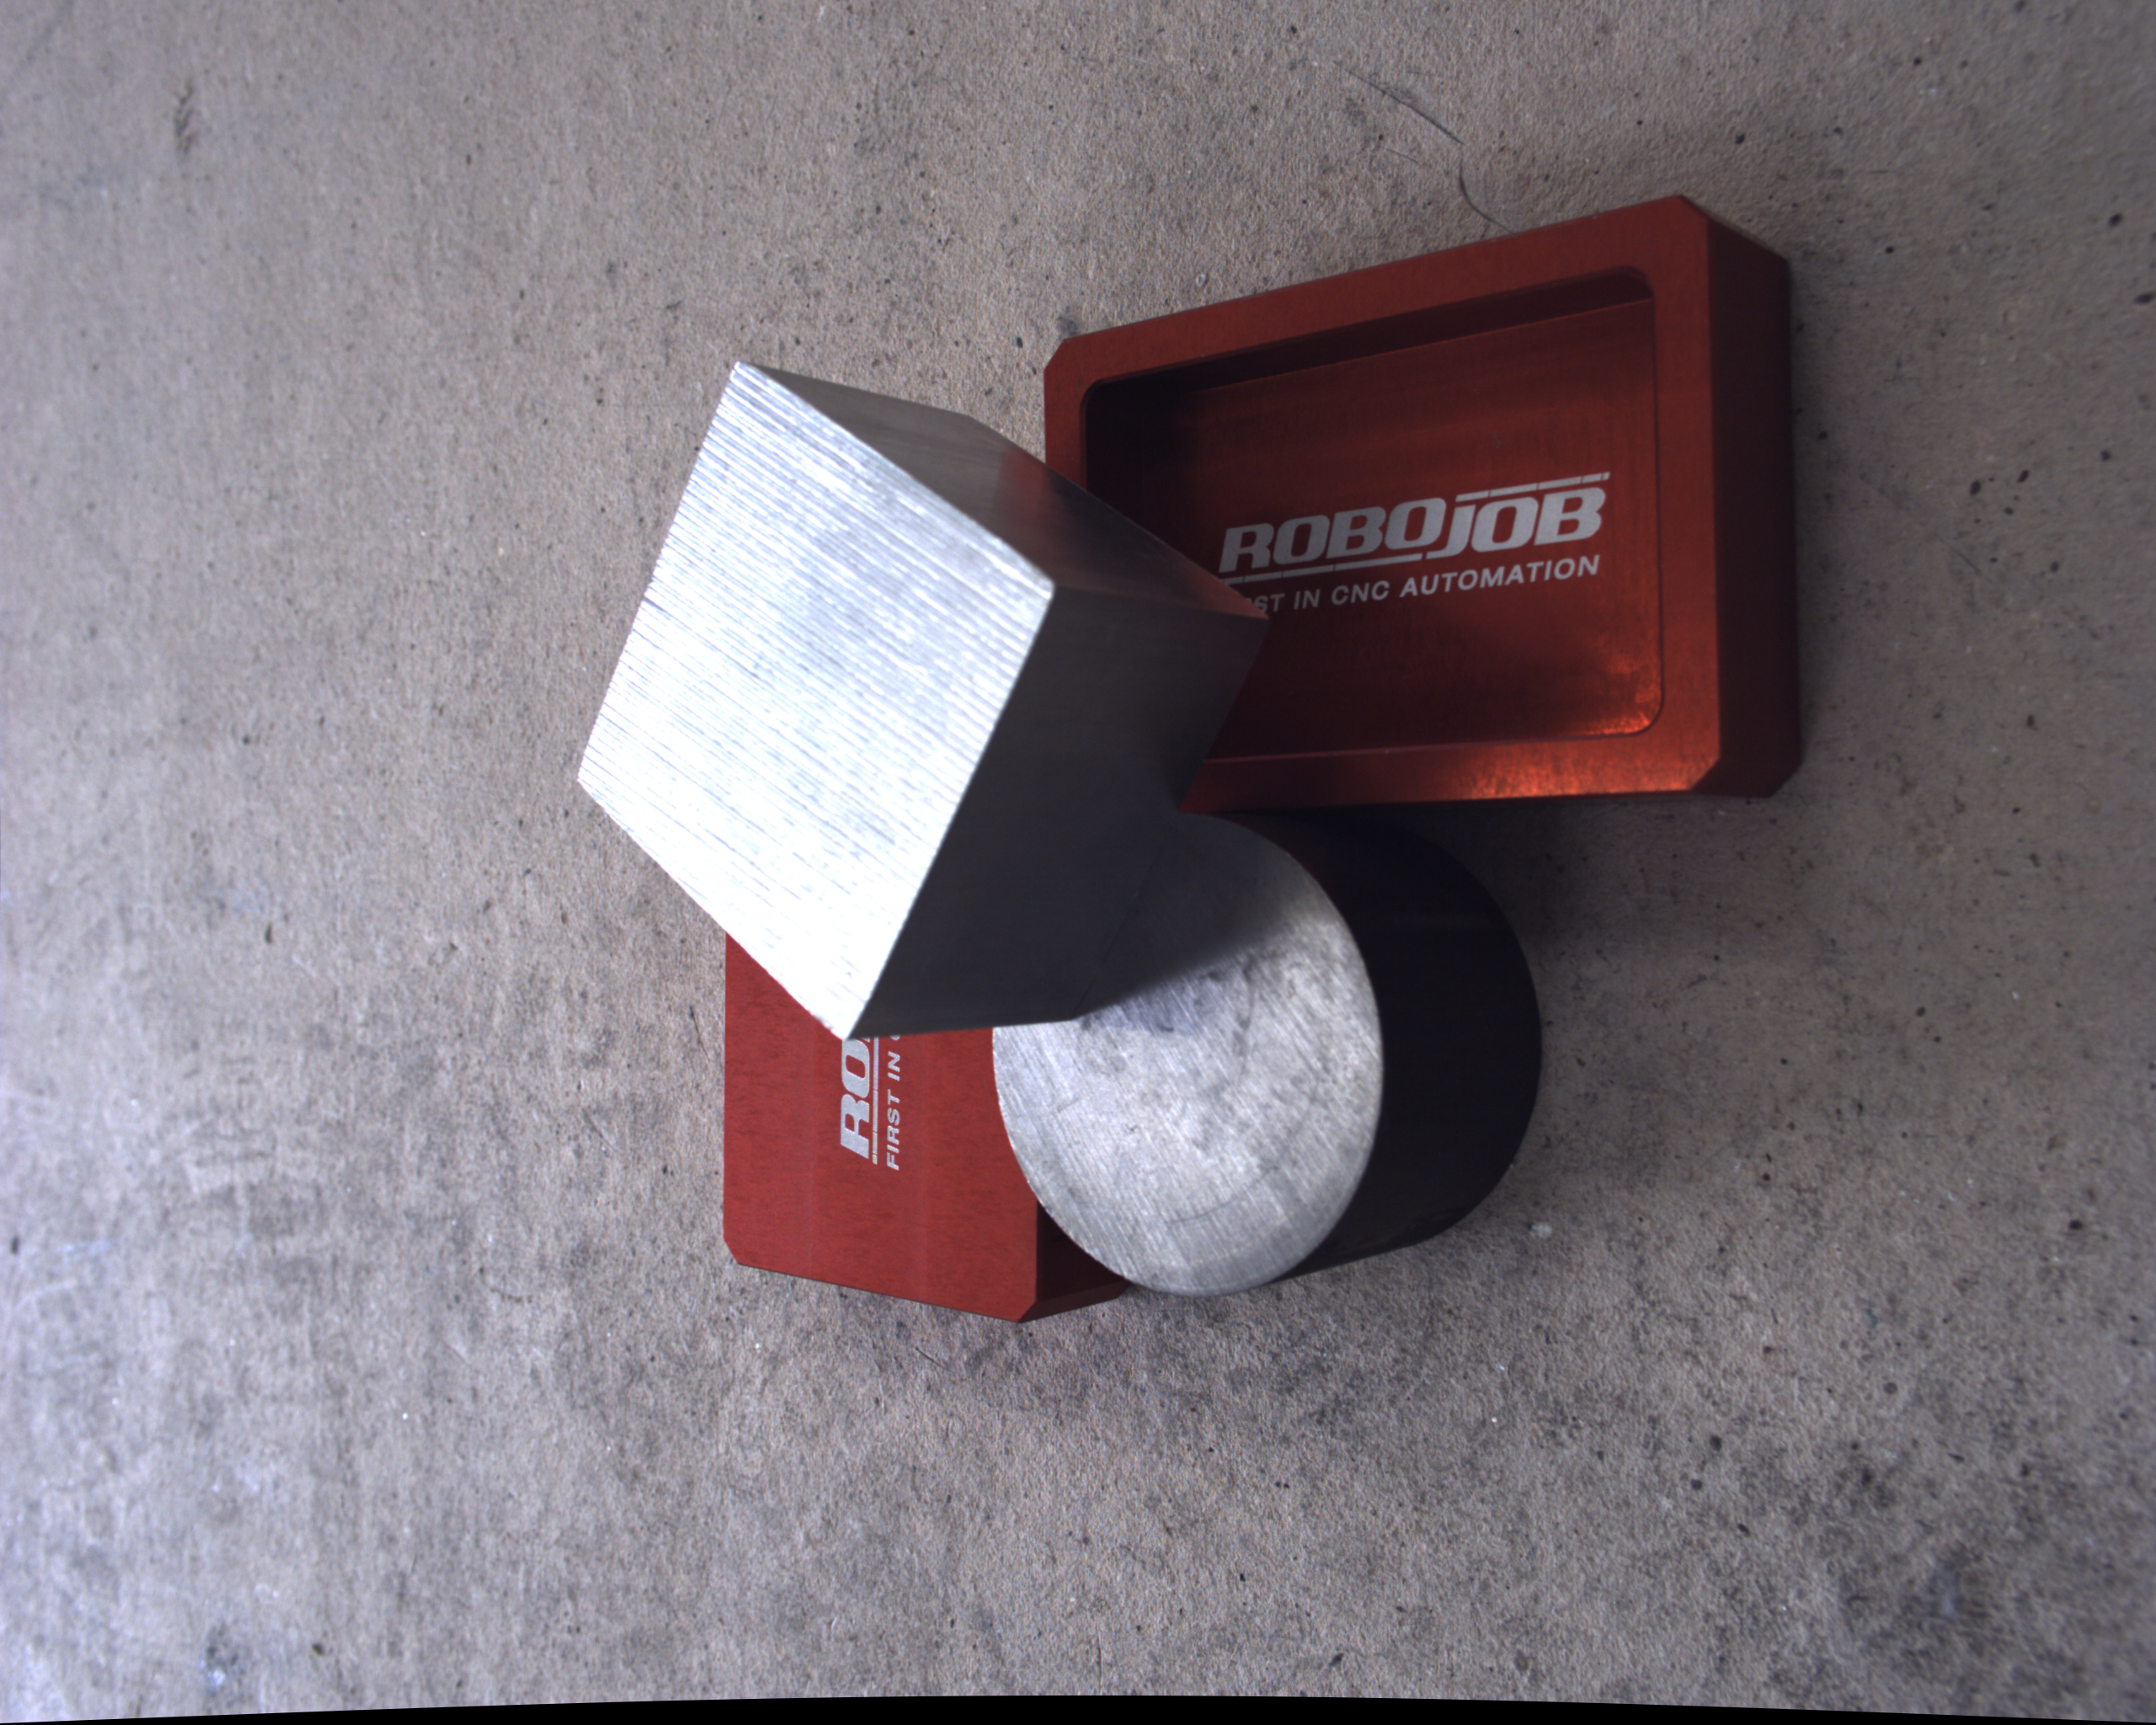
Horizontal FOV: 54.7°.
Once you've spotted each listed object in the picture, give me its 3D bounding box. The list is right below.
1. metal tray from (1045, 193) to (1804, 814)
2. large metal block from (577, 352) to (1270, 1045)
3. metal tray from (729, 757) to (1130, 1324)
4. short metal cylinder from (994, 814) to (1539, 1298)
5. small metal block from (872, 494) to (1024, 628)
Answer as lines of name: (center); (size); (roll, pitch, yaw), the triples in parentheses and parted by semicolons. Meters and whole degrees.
metal tray: (0.054, -0.054, 0.359); (0.130, 0.030, 0.089); (-2, 89, 40)
large metal block: (-0.028, -0.027, 0.346); (0.080, 0.050, 0.079); (40, 114, 32)
metal tray: (-0.031, 0.022, 0.430); (0.090, 0.030, 0.129); (1, 91, 40)
short metal cylinder: (0.032, 0.032, 0.363); (0.080, 0.050, 0.080); (0, 90, 40)
small metal block: (-0.023, -0.055, 0.409); (0.050, 0.050, 0.025); (1, 91, 40)
